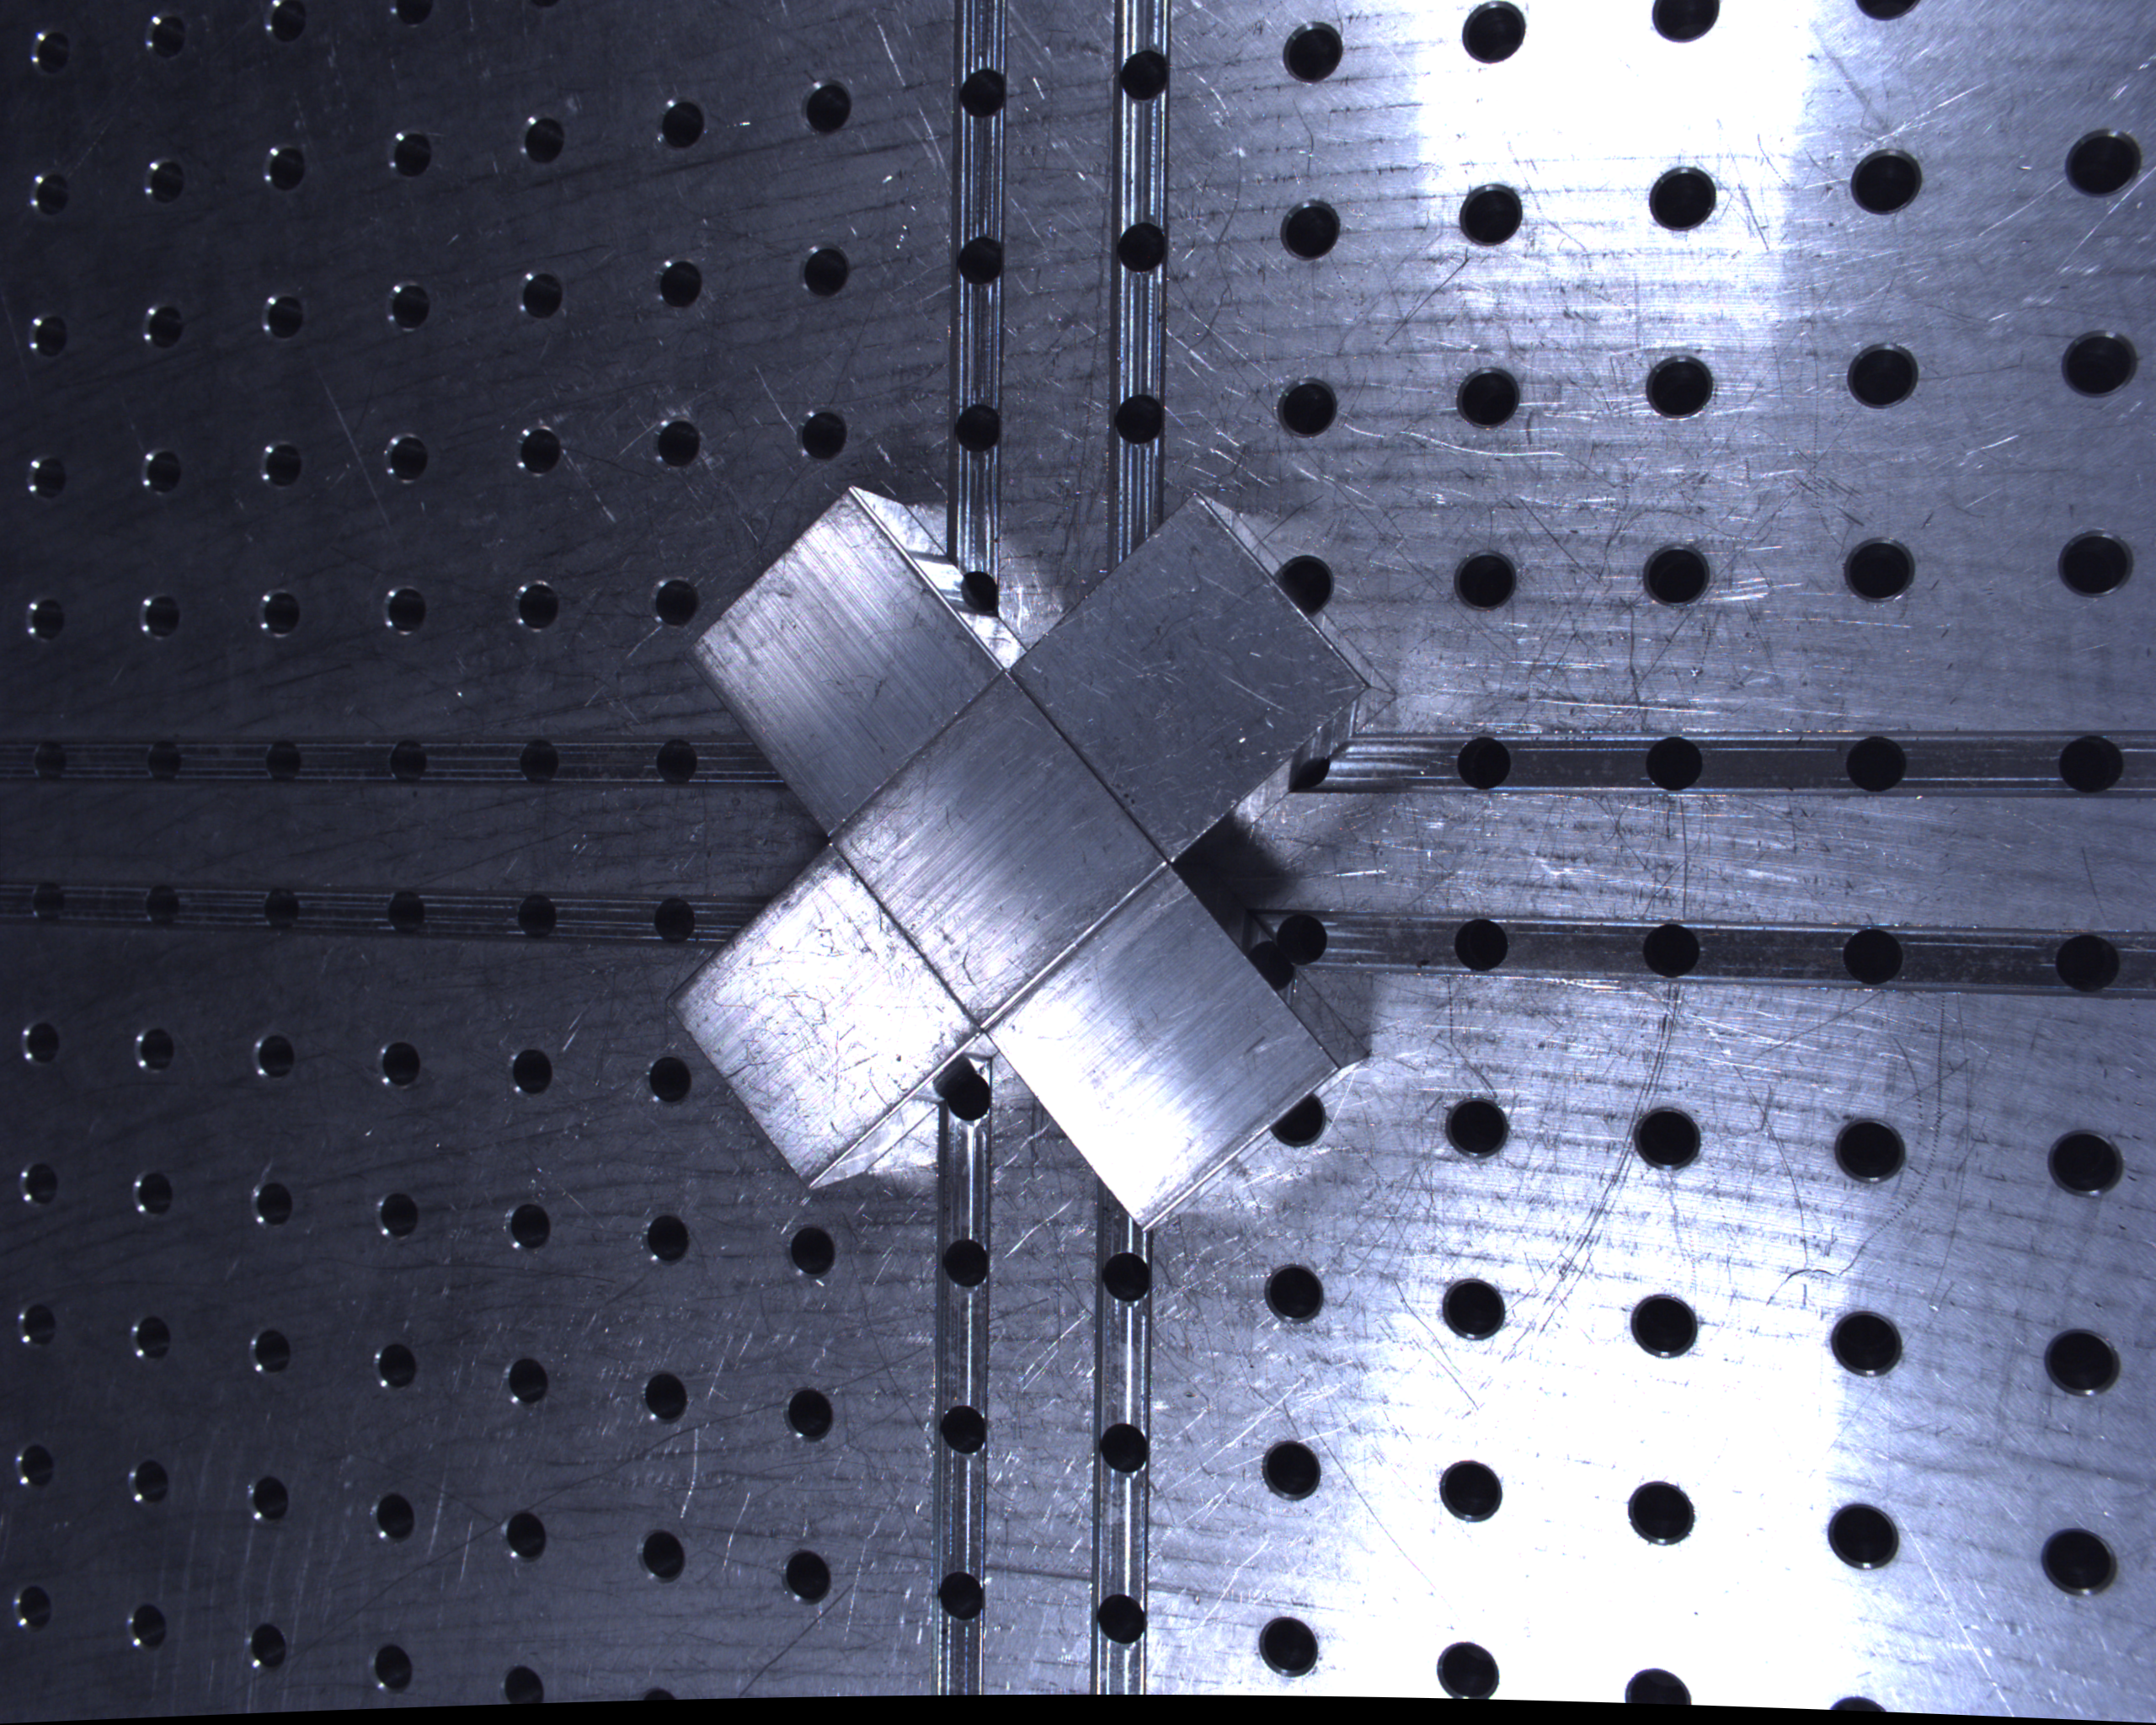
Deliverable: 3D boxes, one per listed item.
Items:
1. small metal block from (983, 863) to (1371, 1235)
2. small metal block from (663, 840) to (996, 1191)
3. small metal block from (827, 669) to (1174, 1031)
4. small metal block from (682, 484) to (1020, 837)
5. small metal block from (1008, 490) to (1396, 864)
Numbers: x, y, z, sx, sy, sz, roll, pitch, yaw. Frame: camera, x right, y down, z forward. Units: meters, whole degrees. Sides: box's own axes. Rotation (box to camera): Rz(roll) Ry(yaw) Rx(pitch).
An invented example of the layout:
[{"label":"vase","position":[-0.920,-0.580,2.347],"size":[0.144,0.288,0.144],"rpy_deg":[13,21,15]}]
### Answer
[{"label":"small metal block","position":[0.019,0.035,0.405],"size":[0.050,0.025,0.050],"rpy_deg":[-42,77,14]},{"label":"small metal block","position":[-0.047,0.031,0.428],"size":[0.050,0.025,0.050],"rpy_deg":[-43,77,14]},{"label":"small metal block","position":[-0.012,-0.002,0.415],"size":[0.050,0.025,0.050],"rpy_deg":[-43,77,14]},{"label":"small metal block","position":[-0.043,-0.040,0.427],"size":[0.050,0.025,0.050],"rpy_deg":[-42,77,14]},{"label":"small metal block","position":[0.024,-0.035,0.403],"size":[0.050,0.025,0.050],"rpy_deg":[-43,77,14]}]
